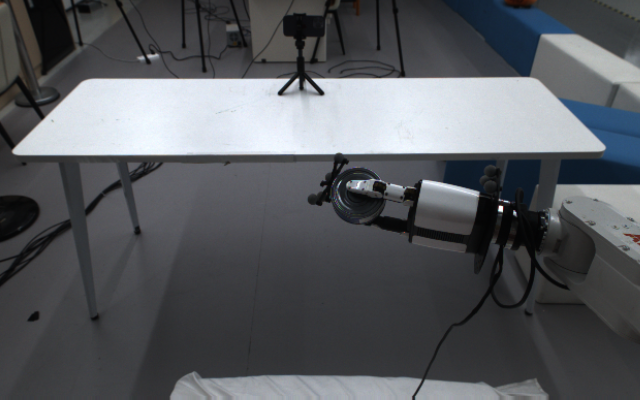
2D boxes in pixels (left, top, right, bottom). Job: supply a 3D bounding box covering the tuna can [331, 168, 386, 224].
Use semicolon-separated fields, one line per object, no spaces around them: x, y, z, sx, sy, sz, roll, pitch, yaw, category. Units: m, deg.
0.062;-0.008;0.749;0.085;0.034;0.085;-2;71;6;tuna can
